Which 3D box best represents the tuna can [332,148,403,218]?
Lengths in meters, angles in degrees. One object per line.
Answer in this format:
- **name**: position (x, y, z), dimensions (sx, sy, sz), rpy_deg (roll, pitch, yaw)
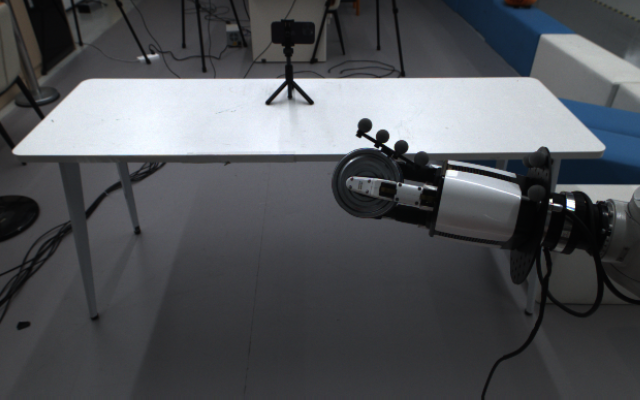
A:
- **tuna can**: position (0.062, -0.014, 0.590), dimensions (0.085, 0.085, 0.034), rpy_deg (13, 4, 15)
